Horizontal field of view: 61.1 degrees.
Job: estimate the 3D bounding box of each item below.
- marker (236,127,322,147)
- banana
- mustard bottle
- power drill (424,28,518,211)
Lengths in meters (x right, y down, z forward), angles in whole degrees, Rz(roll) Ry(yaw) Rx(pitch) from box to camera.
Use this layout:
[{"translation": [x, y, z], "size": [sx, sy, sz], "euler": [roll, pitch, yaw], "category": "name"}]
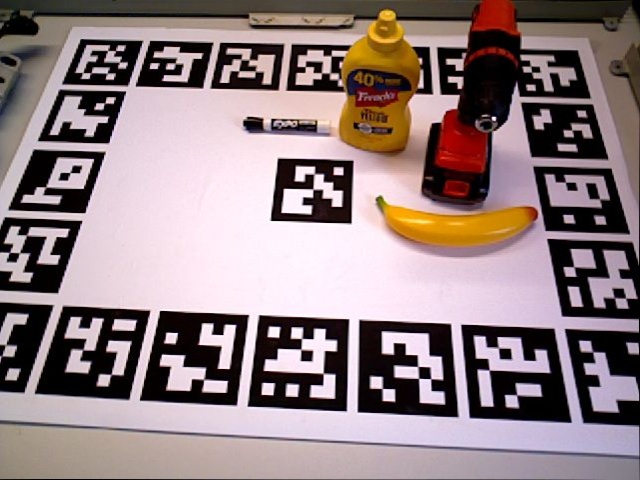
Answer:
[{"translation": [-0.058, -0.144, 0.757], "size": [0.121, 0.020, 0.019], "euler": [5, 61, 4], "category": "marker"}, {"translation": [0.152, 0.004, 0.661], "size": [0.197, 0.039, 0.073], "euler": [9, 63, 8], "category": "banana"}, {"translation": [0.068, -0.173, 0.670], "size": [0.096, 0.195, 0.057], "euler": [14, 60, 7], "category": "mustard bottle"}, {"translation": [0.168, -0.120, 0.619], "size": [0.057, 0.191, 0.181], "euler": [16, 59, 7], "category": "power drill"}]
